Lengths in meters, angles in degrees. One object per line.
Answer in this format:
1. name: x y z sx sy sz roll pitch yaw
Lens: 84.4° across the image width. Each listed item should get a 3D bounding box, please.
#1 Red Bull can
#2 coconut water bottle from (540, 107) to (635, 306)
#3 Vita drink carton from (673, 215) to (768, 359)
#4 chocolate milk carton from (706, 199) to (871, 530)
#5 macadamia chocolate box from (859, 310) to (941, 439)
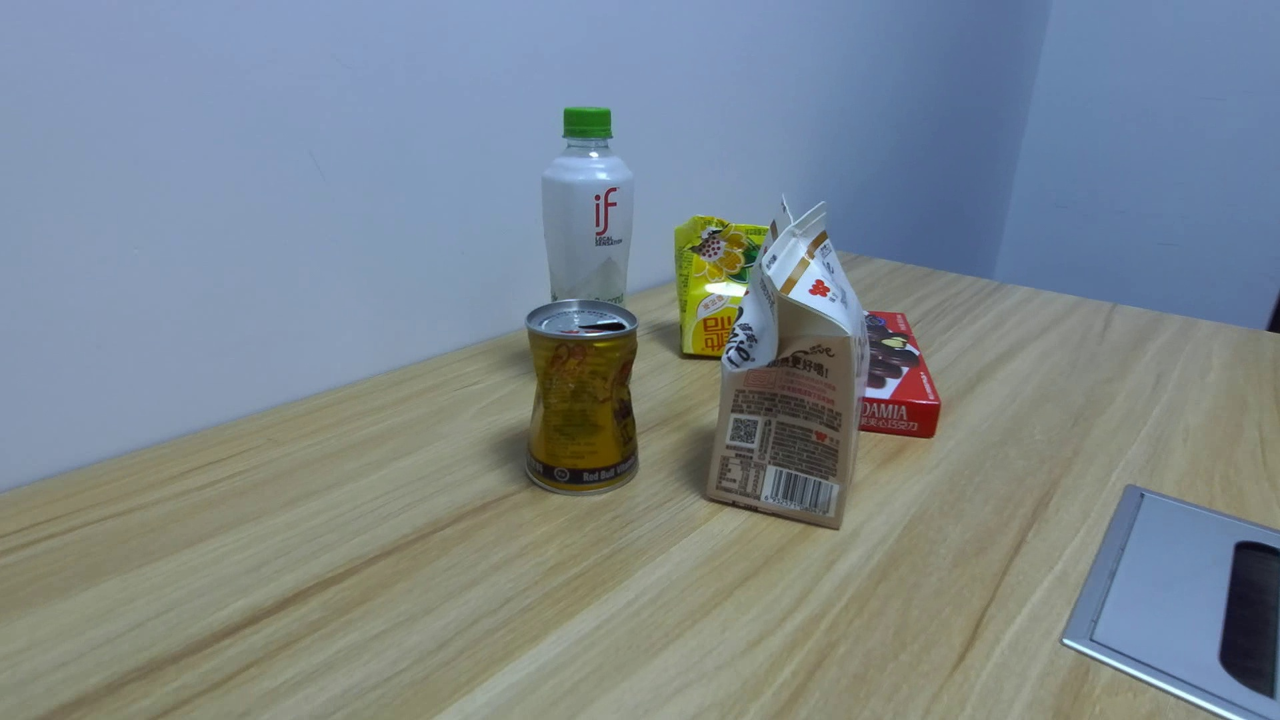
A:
1. Red Bull can: -0.031 0.019 0.392 0.072 0.092 0.072 2 22 0
2. coconut water bottle: -0.036 -0.072 0.482 0.063 0.188 0.063 1 22 0
3. Vita drink carton: 0.070 -0.067 0.622 0.087 0.108 0.042 3 12 -4
4. chocolate milk carton: 0.082 -0.003 0.367 0.073 0.155 0.076 8 24 20
5. macadamia chocolate box: 0.161 0.002 0.532 0.095 0.027 0.178 4 22 12
